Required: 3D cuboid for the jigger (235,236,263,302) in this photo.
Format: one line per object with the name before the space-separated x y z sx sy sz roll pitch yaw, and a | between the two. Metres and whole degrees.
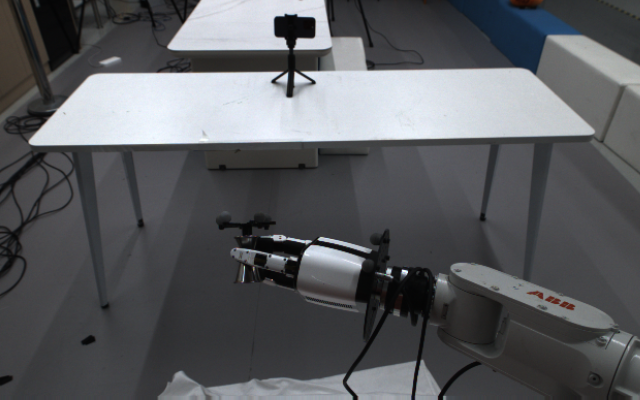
jigger | -0.107 0.087 0.714 0.043 0.071 0.043 -2 -7 0
